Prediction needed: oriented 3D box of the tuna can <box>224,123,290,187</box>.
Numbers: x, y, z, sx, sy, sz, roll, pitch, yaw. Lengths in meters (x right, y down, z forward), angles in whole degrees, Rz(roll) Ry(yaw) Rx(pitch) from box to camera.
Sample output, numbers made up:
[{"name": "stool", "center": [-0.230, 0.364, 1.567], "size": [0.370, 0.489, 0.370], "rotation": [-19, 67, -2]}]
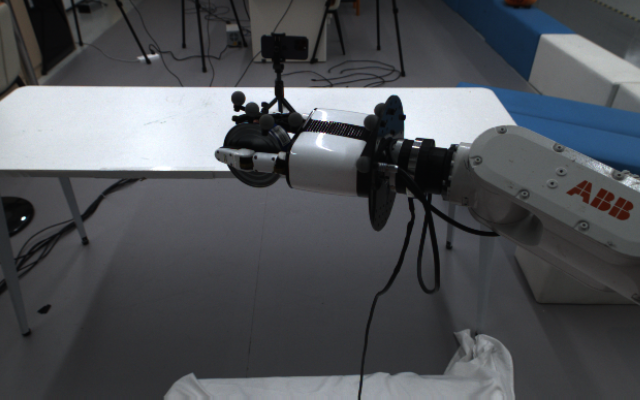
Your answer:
[{"name": "tuna can", "center": [-0.076, -0.062, 0.613], "size": [0.085, 0.085, 0.034], "rotation": [16, 29, 19]}]
